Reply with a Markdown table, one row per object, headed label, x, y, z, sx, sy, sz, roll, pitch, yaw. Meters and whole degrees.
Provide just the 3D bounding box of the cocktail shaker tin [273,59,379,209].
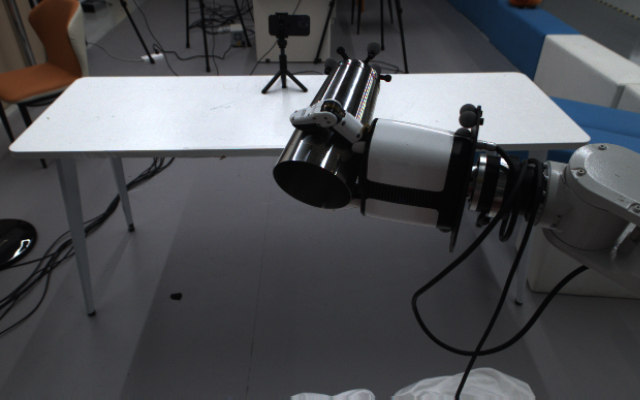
| label | x | y | z | sx | sy | sz | roll | pitch | yaw |
| --- | --- | --- | --- | --- | --- | --- | --- | --- | --- |
| cocktail shaker tin | 0.017 | -0.084 | 0.574 | 0.093 | 0.093 | 0.170 | 13 | 60 | 16 |
